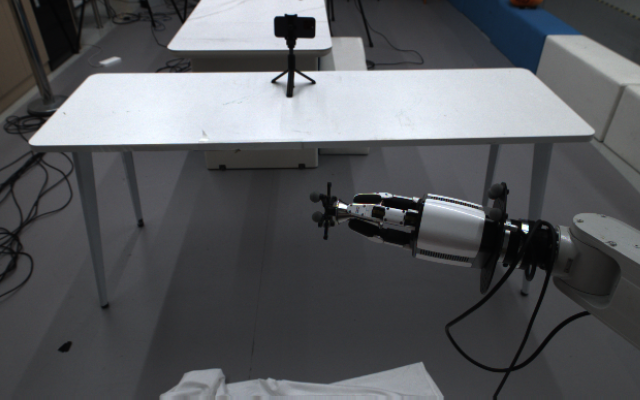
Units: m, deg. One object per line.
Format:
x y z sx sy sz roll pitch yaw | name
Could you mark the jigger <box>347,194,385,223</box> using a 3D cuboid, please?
0.068 0.015 0.733 0.071 0.043 0.043 2 34 16 | jigger
